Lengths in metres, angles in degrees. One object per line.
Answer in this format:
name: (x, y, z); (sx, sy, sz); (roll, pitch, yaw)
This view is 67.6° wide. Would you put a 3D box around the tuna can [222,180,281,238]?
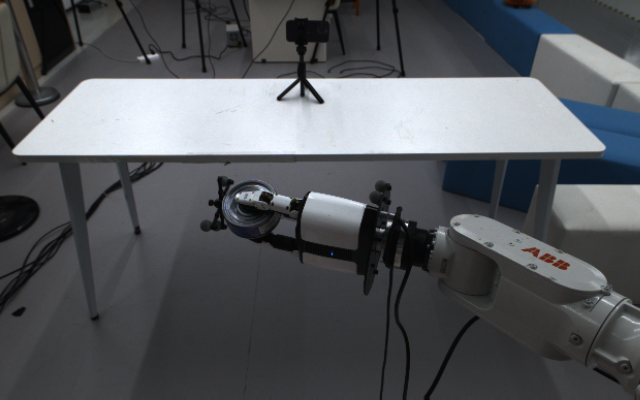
tuna can: (-0.101, 0.012, 0.719); (0.085, 0.034, 0.085); (-2, 58, 3)
